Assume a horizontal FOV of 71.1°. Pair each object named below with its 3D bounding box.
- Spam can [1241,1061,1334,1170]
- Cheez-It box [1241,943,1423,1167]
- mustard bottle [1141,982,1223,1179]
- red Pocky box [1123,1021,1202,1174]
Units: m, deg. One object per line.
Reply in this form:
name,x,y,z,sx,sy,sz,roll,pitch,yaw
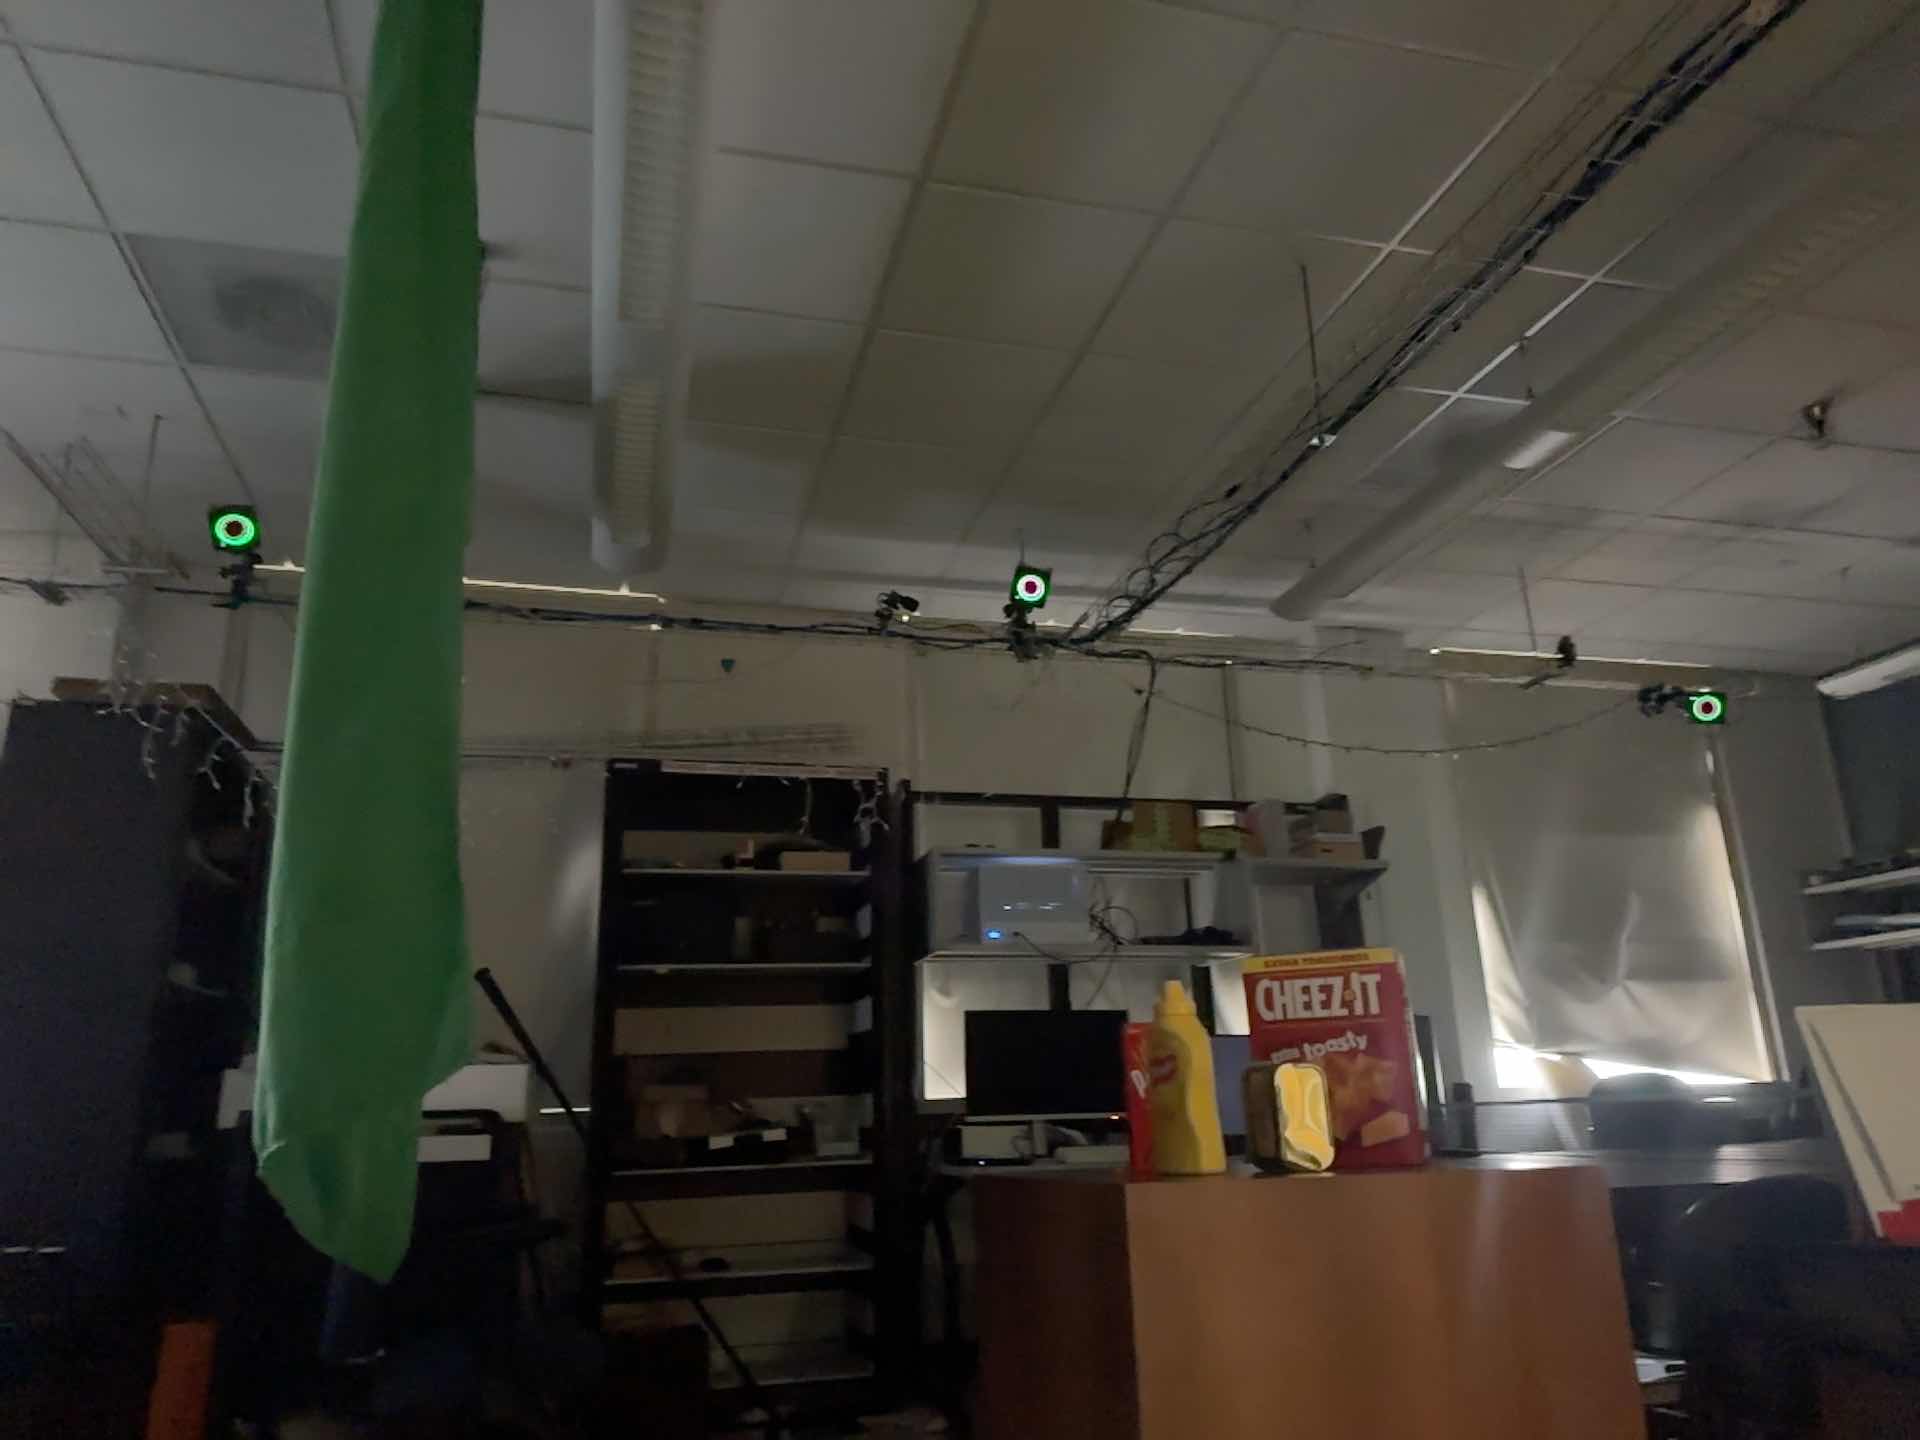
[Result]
Spam can,0.316,0.381,1.300,0.056,0.100,0.083,0,-16,-9
Cheez-It box,0.389,0.352,1.413,0.159,0.214,0.062,-6,-16,15
mustard bottle,0.209,0.346,1.301,0.054,0.184,0.092,2,-17,-16
red Pocky box,0.219,0.399,1.424,0.083,0.155,0.028,-2,-17,-2
